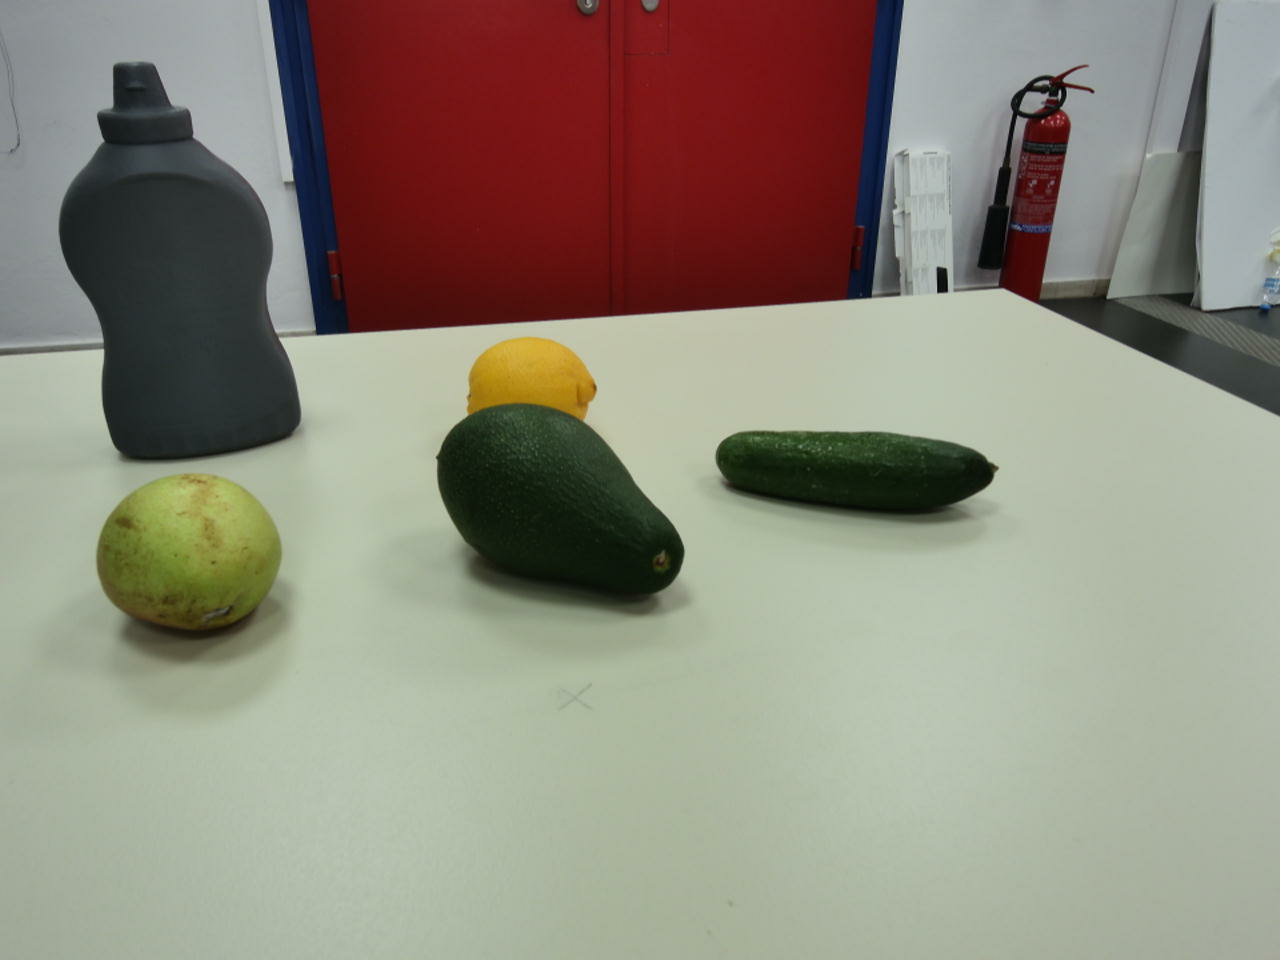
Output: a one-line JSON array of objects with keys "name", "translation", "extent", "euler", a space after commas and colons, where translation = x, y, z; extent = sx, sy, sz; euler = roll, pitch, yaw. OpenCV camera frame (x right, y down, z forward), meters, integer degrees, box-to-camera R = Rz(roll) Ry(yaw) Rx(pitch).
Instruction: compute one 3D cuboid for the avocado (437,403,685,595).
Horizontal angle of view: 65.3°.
[{"name": "avocado", "translation": [-0.037, 0.008, 0.418], "extent": [0.072, 0.071, 0.109], "euler": [-17, 29, -33]}]
